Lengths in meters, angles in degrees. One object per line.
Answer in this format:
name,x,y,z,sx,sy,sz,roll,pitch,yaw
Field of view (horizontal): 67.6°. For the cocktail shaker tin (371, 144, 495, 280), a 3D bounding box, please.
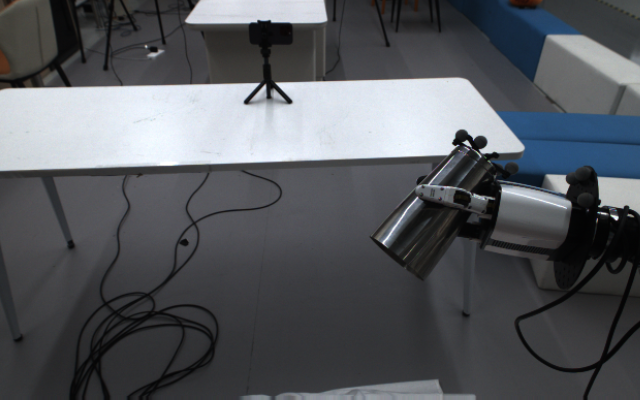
cocktail shaker tin,0.157,0.008,0.645,0.170,0.093,0.093,-48,49,-3
